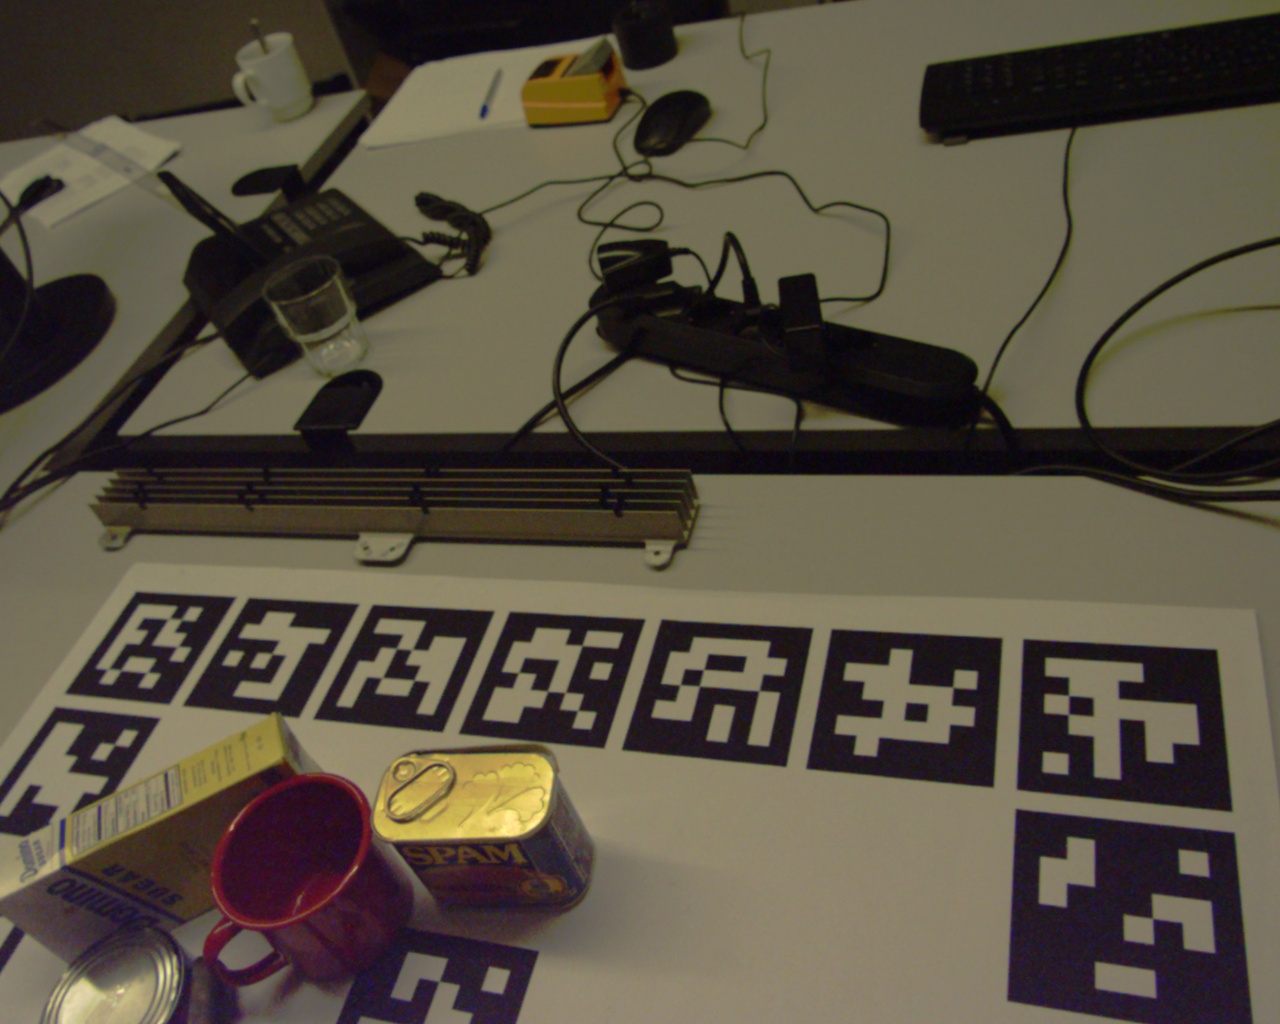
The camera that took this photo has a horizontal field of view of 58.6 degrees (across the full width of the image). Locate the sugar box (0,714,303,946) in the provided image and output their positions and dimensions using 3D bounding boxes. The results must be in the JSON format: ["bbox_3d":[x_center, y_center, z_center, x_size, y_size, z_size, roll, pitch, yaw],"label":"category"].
[{"bbox_3d":[-0.286,0.200,0.701,0.176,0.092,0.046,-25,42,-7],"label":"sugar box"}]

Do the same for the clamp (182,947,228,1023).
[{"bbox_3d":[-0.245,0.325,0.602,0.121,0.036,0.167,-36,50,-21],"label":"clamp"}]

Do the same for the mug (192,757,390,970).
[{"bbox_3d":[-0.204,0.211,0.655,0.094,0.081,0.116,24,60,36],"label":"mug"}]

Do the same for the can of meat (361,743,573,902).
[{"bbox_3d":[-0.095,0.181,0.655,0.102,0.083,0.058,-4,44,14],"label":"can of meat"}]

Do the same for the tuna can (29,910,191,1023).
[{"bbox_3d":[-0.305,0.280,0.662,0.086,0.033,0.086,-11,46,11],"label":"tuna can"}]
